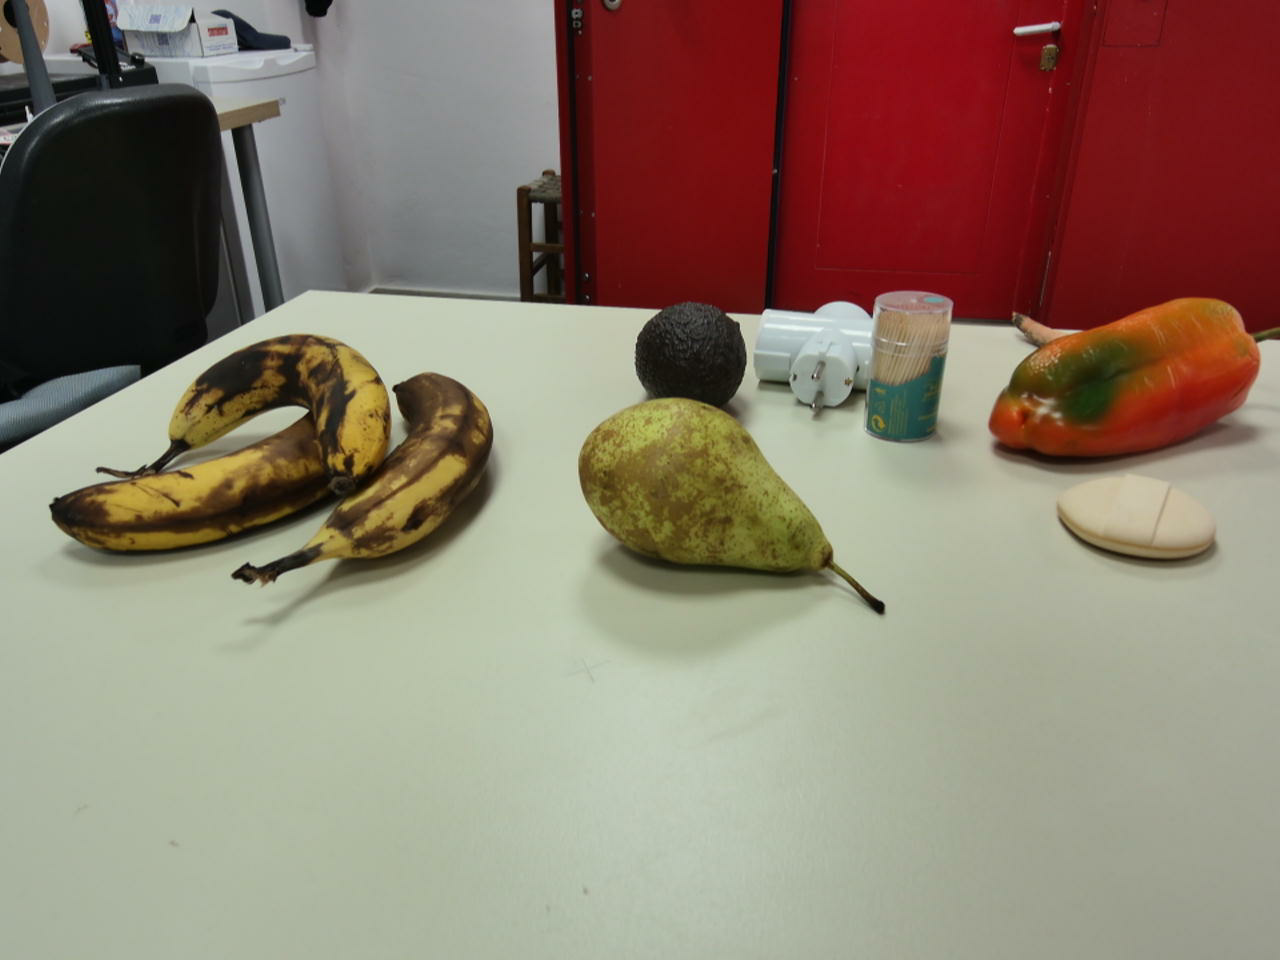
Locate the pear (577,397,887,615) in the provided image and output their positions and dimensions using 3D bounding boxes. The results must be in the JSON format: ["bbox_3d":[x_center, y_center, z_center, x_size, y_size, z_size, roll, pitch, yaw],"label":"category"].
[{"bbox_3d":[0.038,0.003,0.430,0.128,0.075,0.071,2,24,5],"label":"pear"}]
